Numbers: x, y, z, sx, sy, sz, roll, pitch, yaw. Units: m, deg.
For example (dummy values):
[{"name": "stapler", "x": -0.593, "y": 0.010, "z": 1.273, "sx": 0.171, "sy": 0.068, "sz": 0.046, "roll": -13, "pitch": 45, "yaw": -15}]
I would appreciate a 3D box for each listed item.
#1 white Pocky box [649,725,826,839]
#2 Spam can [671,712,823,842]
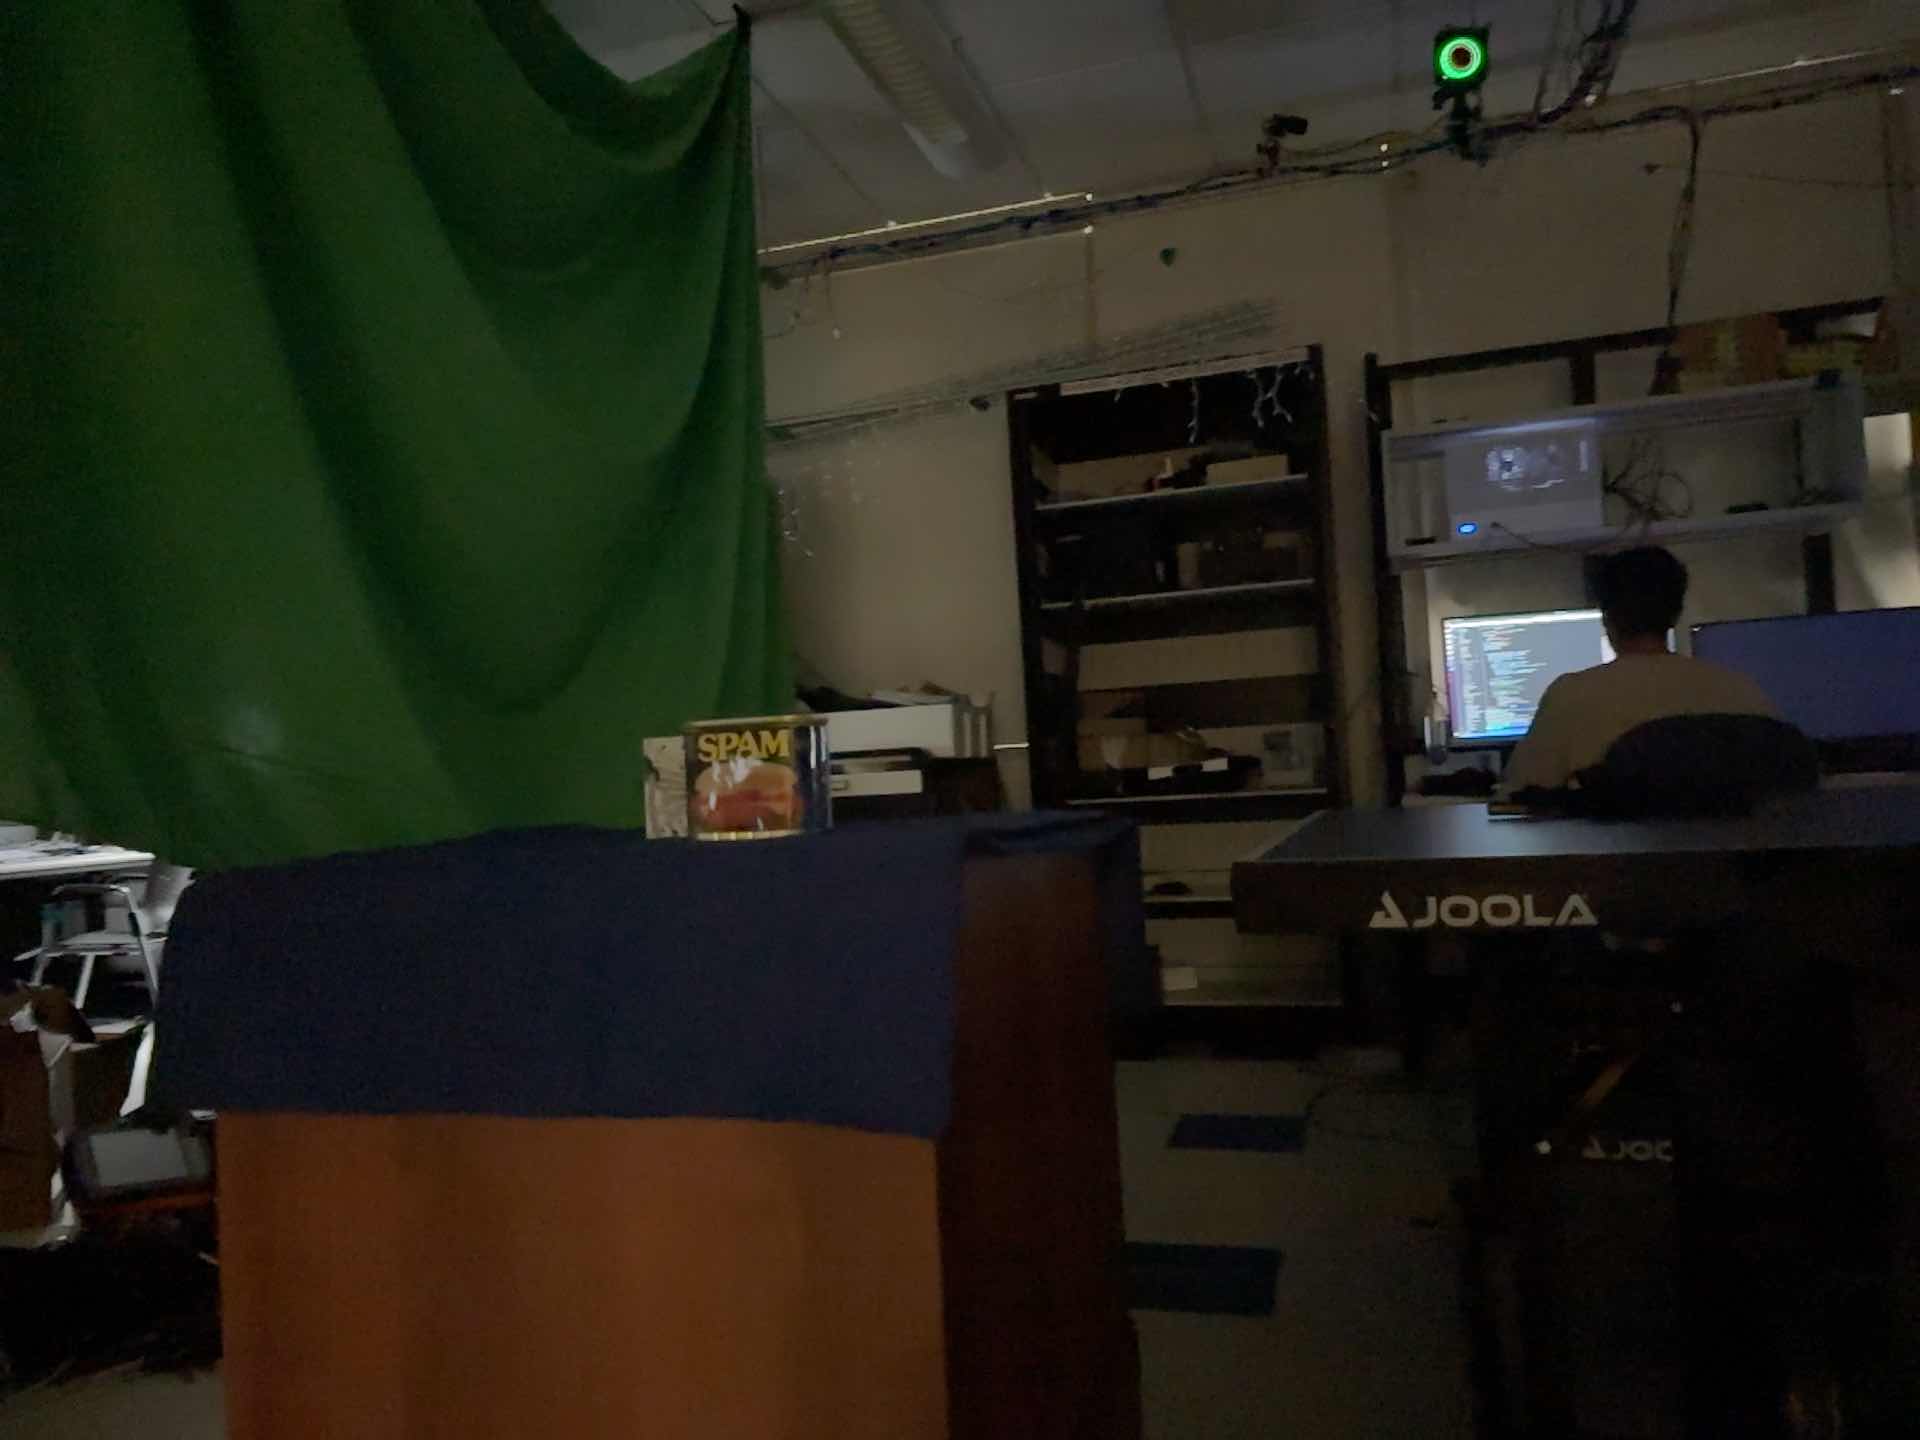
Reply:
[{"name": "white Pocky box", "x": -0.174, "y": 0.048, "z": 1.040, "sx": 0.154, "sy": 0.084, "sz": 0.028, "roll": -4, "pitch": -4, "yaw": 28}, {"name": "Spam can", "x": -0.146, "y": 0.039, "z": 0.917, "sx": 0.100, "sy": 0.083, "sz": 0.056, "roll": -1, "pitch": -3, "yaw": 20}]
